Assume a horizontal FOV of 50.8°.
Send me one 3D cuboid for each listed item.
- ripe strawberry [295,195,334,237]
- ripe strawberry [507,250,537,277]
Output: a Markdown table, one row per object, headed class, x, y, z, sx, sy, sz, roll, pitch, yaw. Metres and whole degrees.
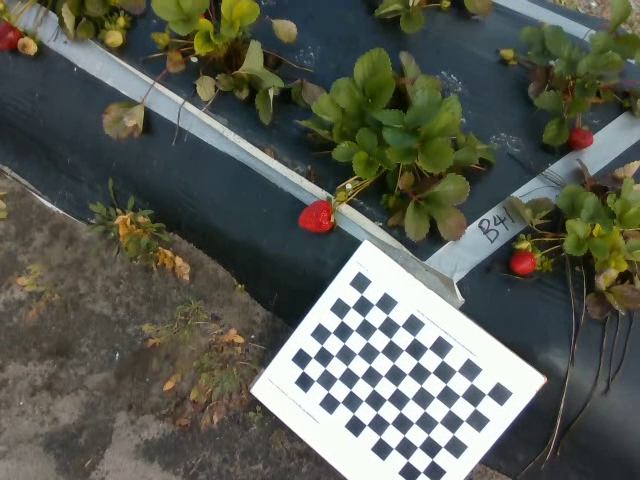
| class | x | y | z | sx | sy | sz | roll | pitch | yaw |
| --- | --- | --- | --- | --- | --- | --- | --- | --- | --- |
| ripe strawberry | -0.003 | -0.029 | 0.851 | 0.052 | 0.048 | 0.030 | -12 | -5 | -11 |
| ripe strawberry | 0.255 | 0.032 | 0.825 | 0.047 | 0.038 | 0.031 | -26 | -16 | -42 |
